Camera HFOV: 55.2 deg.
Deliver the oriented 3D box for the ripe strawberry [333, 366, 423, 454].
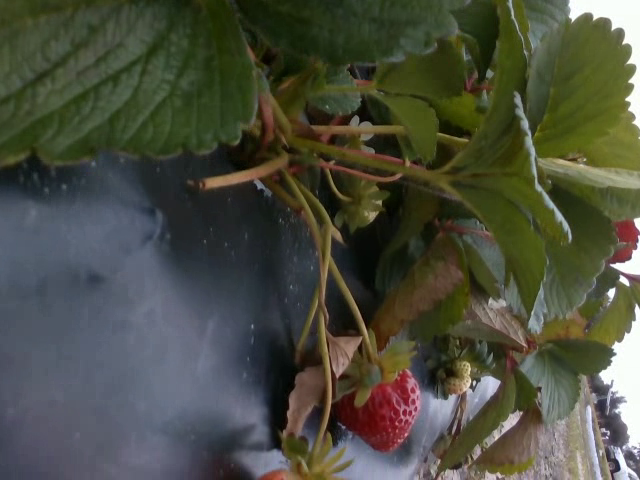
[{"bbox_3d":[0.029,0.074,0.260,0.044,0.059,0.042,-25,38,-26],"label":"ripe strawberry"}]
